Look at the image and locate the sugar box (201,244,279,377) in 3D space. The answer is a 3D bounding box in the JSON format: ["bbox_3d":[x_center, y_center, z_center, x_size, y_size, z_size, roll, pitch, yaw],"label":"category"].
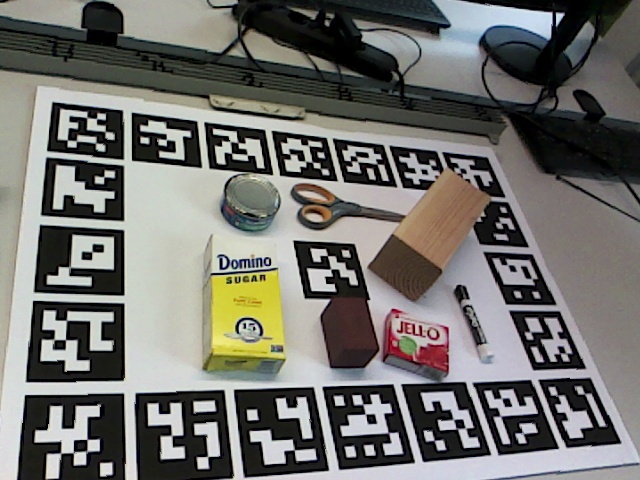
[{"bbox_3d":[-0.107,0.090,0.813,0.092,0.045,0.177,8,52,-19],"label":"sugar box"}]

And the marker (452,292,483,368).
[{"bbox_3d":[0.222,0.133,0.935,0.019,0.019,0.121,5,55,-20],"label":"marker"}]

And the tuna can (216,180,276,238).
[{"bbox_3d":[-0.111,-0.046,0.918,0.085,0.034,0.086,11,51,-15],"label":"tuna can"}]

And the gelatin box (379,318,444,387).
[{"bbox_3d":[0.129,0.157,0.871,0.089,0.030,0.073,19,50,-9],"label":"gelatin box"}]

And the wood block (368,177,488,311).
[{"bbox_3d":[0.174,0.003,0.975,0.090,0.091,0.206,37,48,8],"label":"wood block"}]

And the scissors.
[{"bbox_3d":[0.044,-0.036,0.994,0.202,0.016,0.088,9,52,-15],"label":"scissors"}]

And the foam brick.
[{"bbox_3d":[0.036,0.135,0.828,0.052,0.051,0.078,5,54,-20],"label":"foam brick"}]
